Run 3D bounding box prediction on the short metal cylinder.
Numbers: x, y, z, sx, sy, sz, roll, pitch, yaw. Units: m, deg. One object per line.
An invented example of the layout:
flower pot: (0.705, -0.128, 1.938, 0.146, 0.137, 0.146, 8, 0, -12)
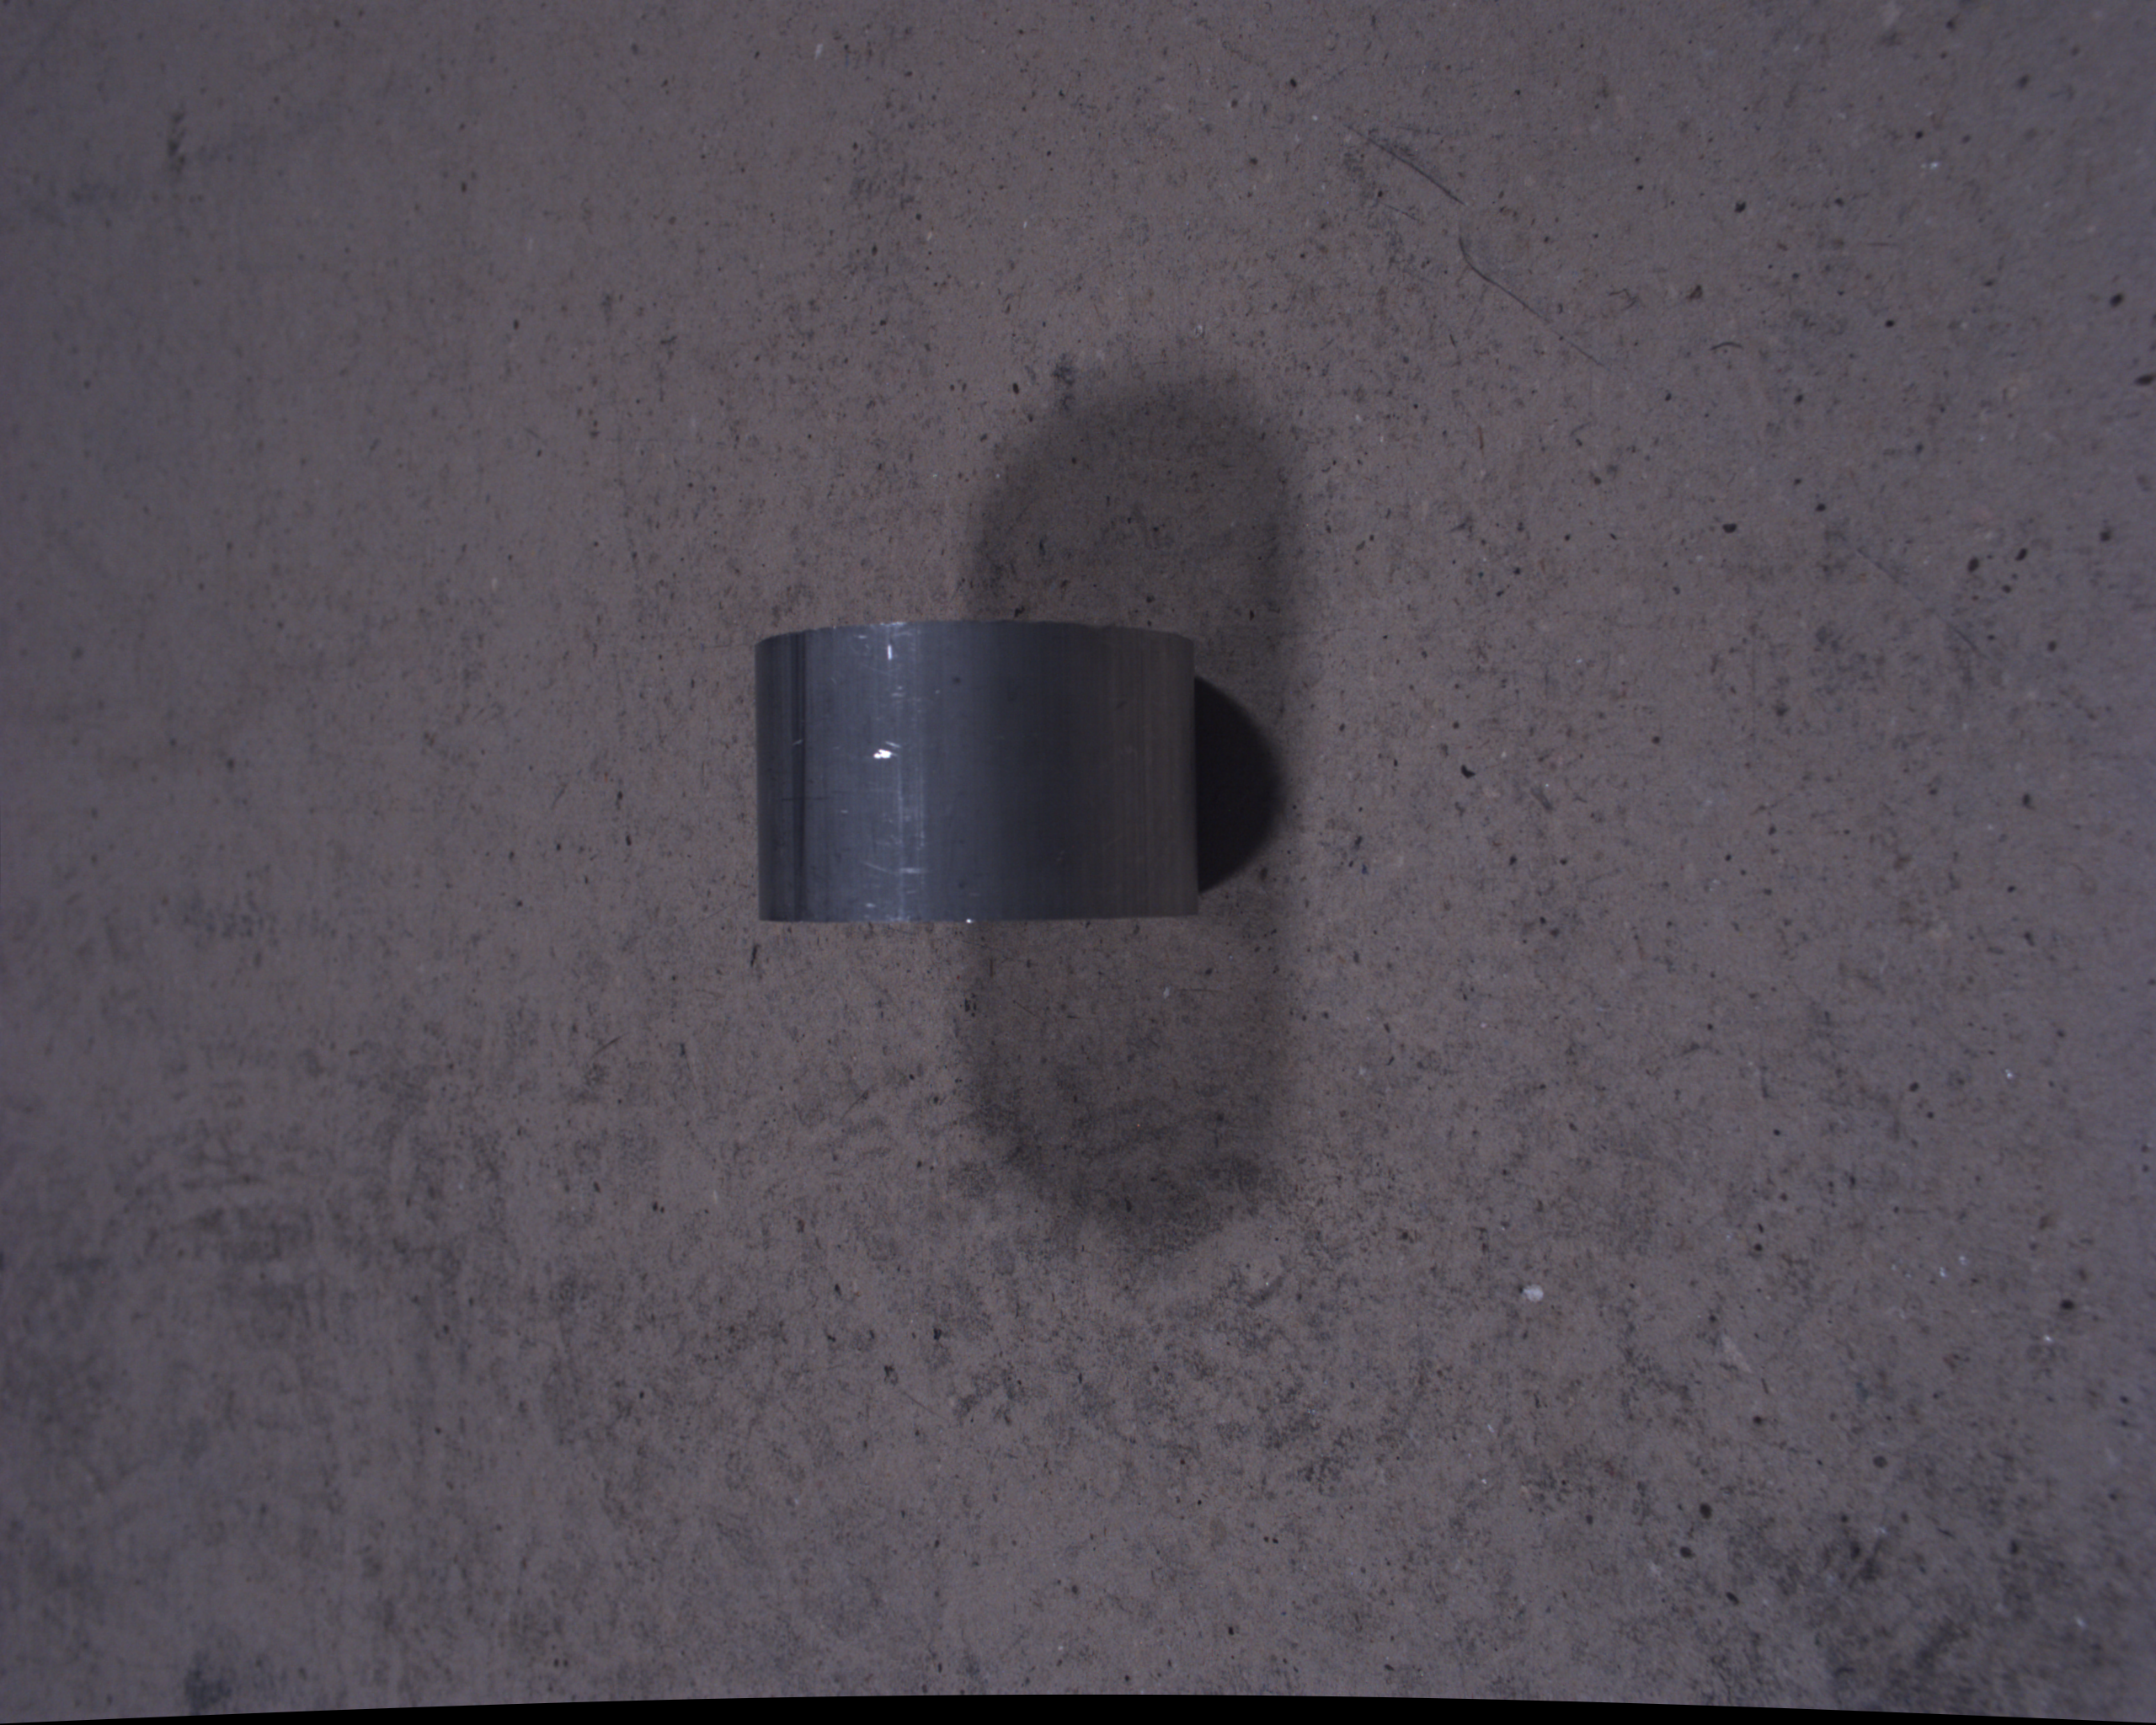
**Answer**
short metal cylinder: (-0.018, -0.015, 0.384, 0.080, 0.081, 0.050, -1, 90, 39)
